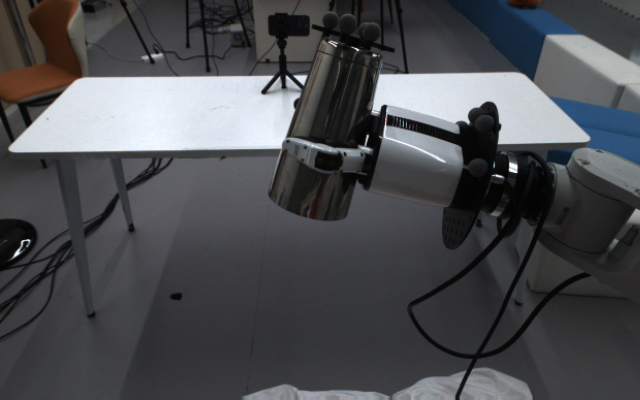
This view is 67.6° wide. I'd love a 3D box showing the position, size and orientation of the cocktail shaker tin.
[{"bbox_3d":[0.011,-0.075,0.509,0.093,0.170,0.093,15,20,-5],"label":"cocktail shaker tin"}]
